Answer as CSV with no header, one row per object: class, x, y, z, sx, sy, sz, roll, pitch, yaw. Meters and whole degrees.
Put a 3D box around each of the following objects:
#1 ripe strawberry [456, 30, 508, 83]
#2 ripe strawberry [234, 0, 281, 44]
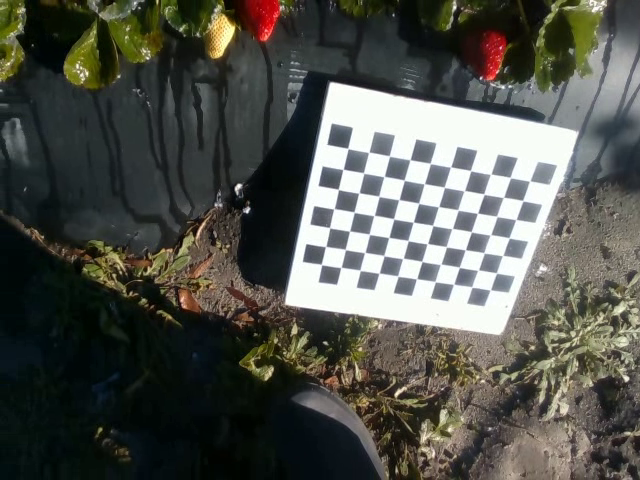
ripe strawberry,0.168,-0.187,0.597,0.048,0.061,0.044,2,-8,-7
ripe strawberry,-0.057,-0.211,0.570,0.042,0.061,0.046,-4,-17,-4
